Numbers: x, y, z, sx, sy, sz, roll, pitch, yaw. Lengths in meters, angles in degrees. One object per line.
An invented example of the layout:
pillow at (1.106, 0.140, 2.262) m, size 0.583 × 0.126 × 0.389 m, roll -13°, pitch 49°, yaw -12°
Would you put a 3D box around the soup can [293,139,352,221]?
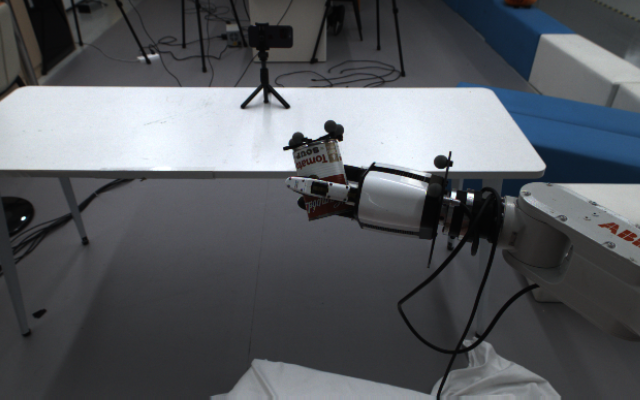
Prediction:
soup can at (0.005, -0.028, 0.682) m, size 0.067 × 0.101 × 0.067 m, roll -14°, pitch -2°, yaw -1°
